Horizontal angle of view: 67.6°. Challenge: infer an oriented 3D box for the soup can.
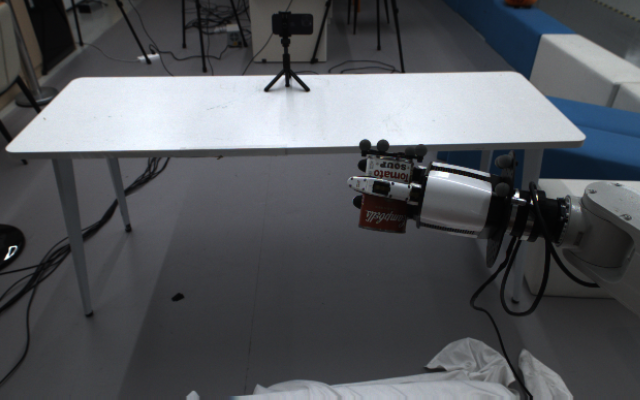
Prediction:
[{"bbox_3d":[0.095,-0.008,0.682,0.067,0.101,0.067,7,3,0],"label":"soup can"}]
